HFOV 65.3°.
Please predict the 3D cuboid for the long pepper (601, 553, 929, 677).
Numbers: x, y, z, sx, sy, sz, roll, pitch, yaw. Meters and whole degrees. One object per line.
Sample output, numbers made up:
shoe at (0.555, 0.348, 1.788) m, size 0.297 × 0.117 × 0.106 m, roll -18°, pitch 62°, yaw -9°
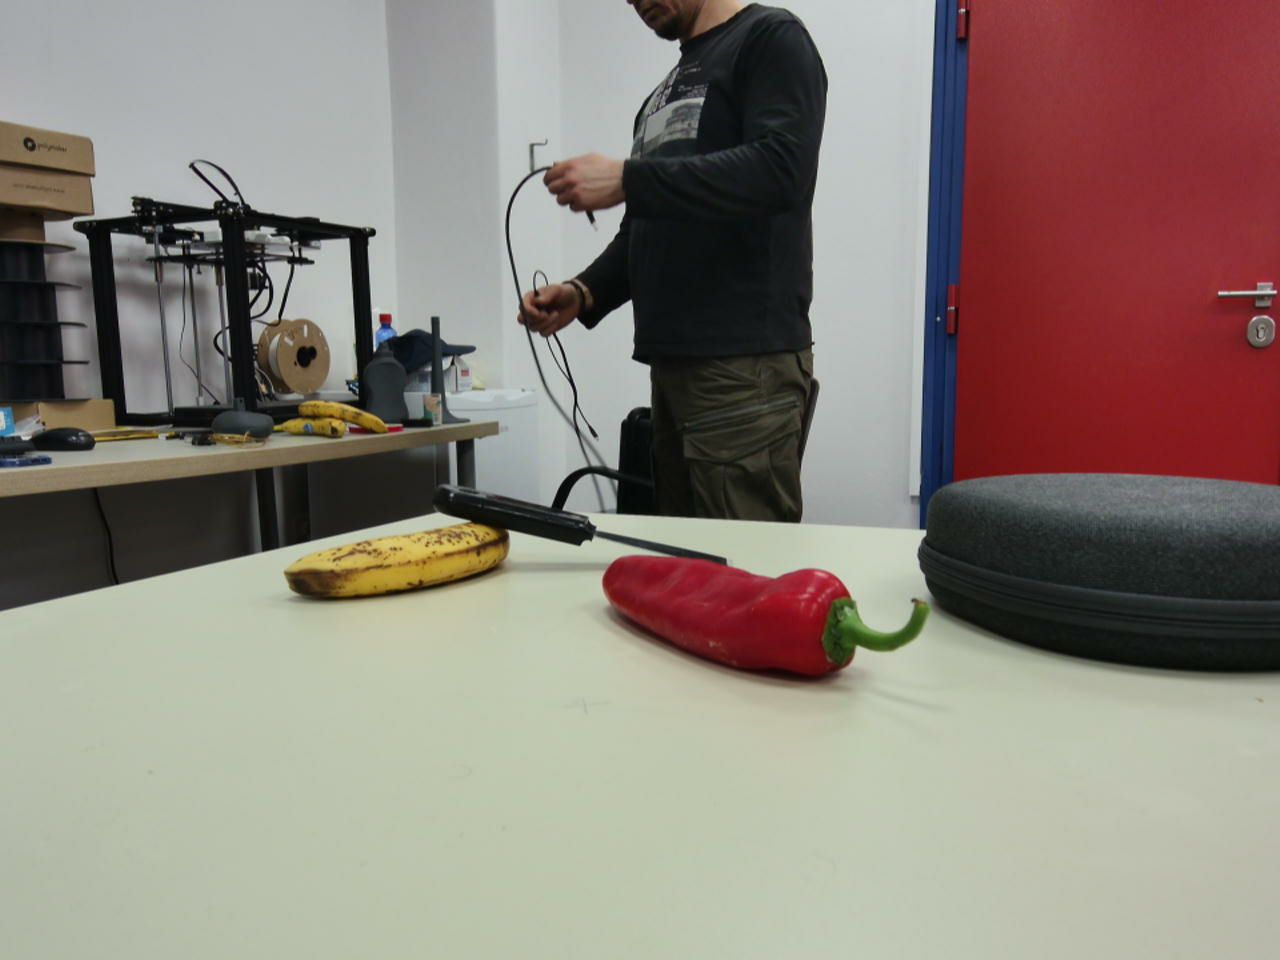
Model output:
long pepper at (0.037, 0.054, 0.446) m, size 0.050 × 0.043 × 0.211 m, roll -2°, pitch 4°, yaw -33°
